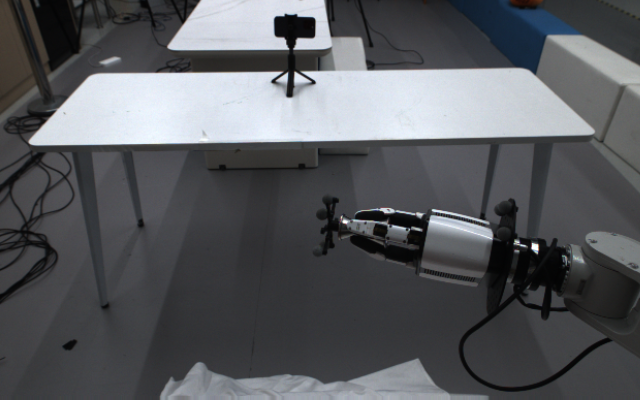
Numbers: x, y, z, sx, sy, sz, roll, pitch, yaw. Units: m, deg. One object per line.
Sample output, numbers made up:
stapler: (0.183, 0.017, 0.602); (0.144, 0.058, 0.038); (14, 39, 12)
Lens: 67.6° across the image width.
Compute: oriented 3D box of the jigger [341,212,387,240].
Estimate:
jigger: (0.070, 0.039, 0.692); (0.071, 0.043, 0.043); (6, 35, 14)
